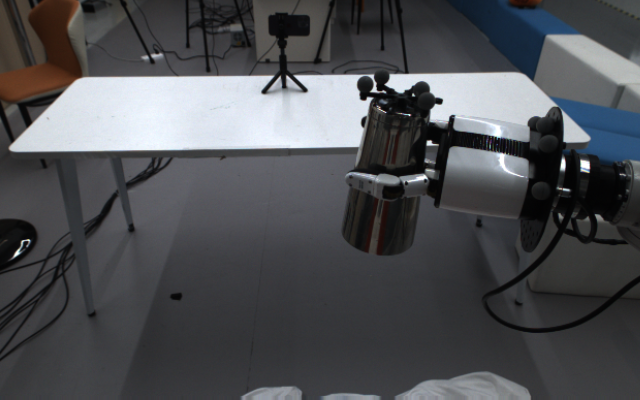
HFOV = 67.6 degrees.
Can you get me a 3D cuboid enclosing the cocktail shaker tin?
[{"bbox_3d":[0.080,-0.031,0.565,0.093,0.170,0.093,4,32,-2],"label":"cocktail shaker tin"}]
